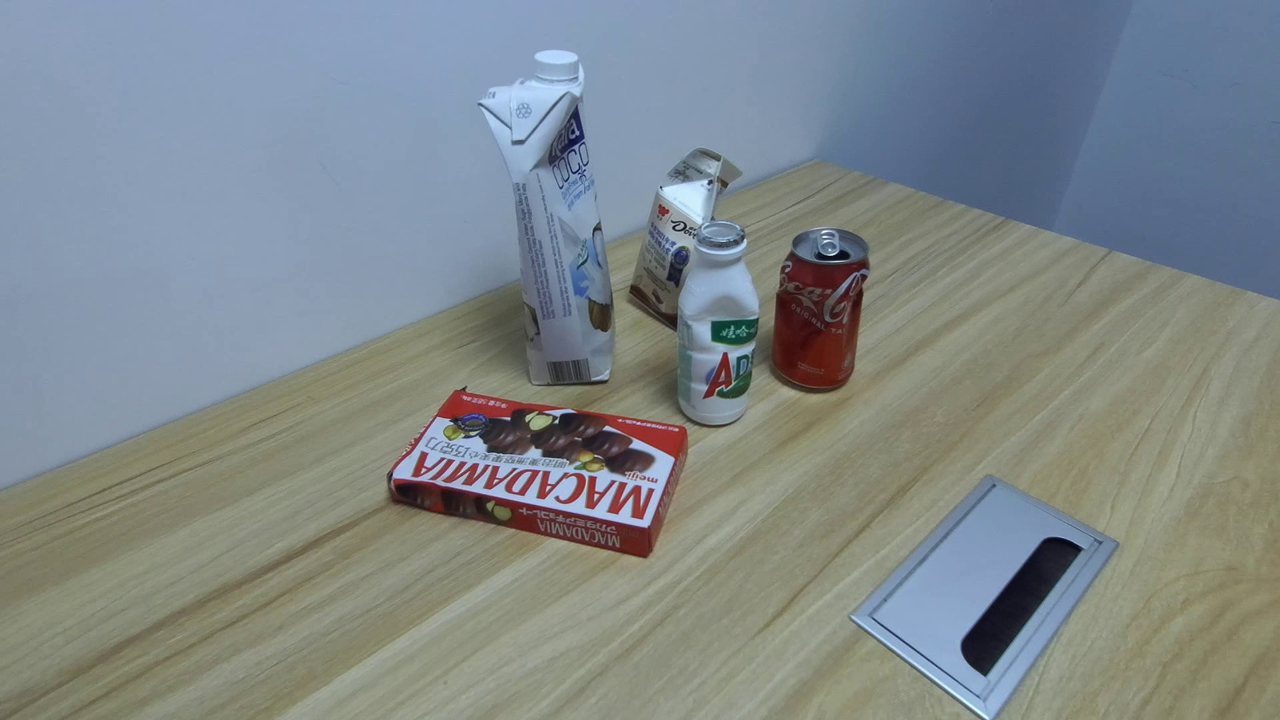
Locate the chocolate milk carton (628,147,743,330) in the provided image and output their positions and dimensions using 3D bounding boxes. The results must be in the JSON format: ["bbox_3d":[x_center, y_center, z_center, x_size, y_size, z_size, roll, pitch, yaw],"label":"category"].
[{"bbox_3d":[0.049,-0.110,0.618,0.076,0.155,0.089,33,34,34],"label":"chocolate milk carton"}]

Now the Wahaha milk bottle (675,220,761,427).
[{"bbox_3d":[0.053,-0.023,0.489,0.056,0.148,0.056,0,37,0],"label":"Wahaha milk bottle"}]

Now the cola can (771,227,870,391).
[{"bbox_3d":[0.138,-0.038,0.541,0.066,0.117,0.066,26,43,35],"label":"cola can"}]

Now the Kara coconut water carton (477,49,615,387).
[{"bbox_3d":[-0.061,-0.097,0.524,0.069,0.239,0.115,-1,32,4],"label":"Kara coconut water carton"}]

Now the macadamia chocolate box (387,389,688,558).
[{"bbox_3d":[-0.067,0.069,0.478,0.182,0.028,0.106,8,37,15],"label":"macadamia chocolate box"}]
